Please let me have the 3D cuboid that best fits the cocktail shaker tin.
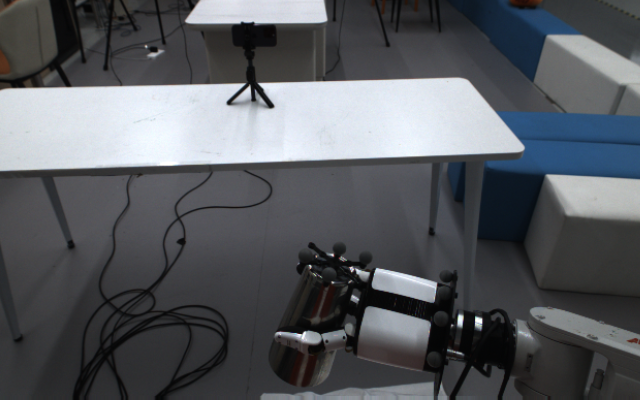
[{"bbox_3d":[-0.005,0.154,0.646,0.093,0.170,0.093,12,29,-7],"label":"cocktail shaker tin"}]
